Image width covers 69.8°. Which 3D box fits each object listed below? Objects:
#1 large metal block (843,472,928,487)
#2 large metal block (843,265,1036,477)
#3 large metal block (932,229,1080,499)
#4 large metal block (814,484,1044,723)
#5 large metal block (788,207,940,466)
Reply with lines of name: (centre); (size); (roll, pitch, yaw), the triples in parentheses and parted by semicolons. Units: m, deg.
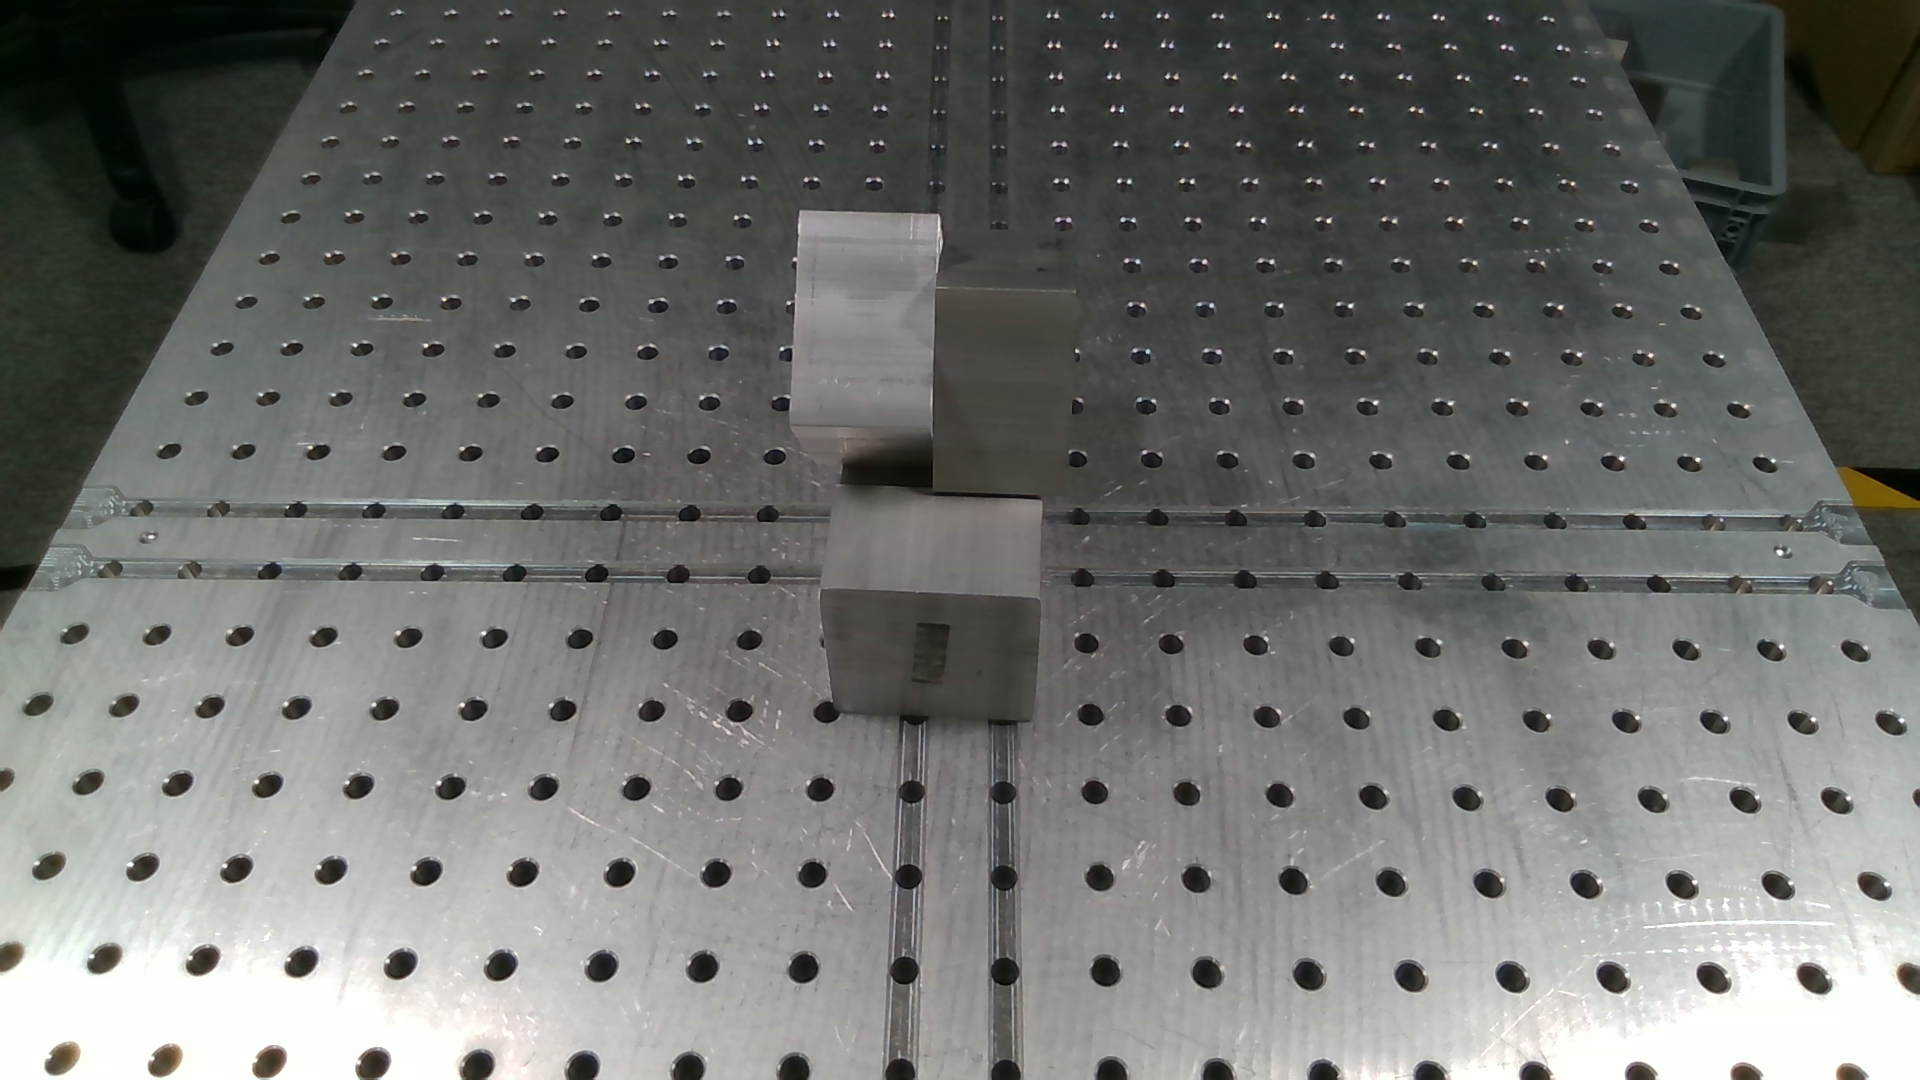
large metal block: (-0.007, -0.015, 0.584); (0.080, 0.050, 0.080); (2, 50, 2)
large metal block: (-0.008, -0.075, 0.617); (0.080, 0.080, 0.050); (1, 50, 1)
large metal block: (0.017, -0.070, 0.529); (0.050, 0.080, 0.080); (2, 28, 1)
large metal block: (-0.010, 0.026, 0.532); (0.080, 0.080, 0.050); (3, 50, 2)
large metal block: (-0.033, -0.074, 0.529); (0.050, 0.080, 0.080); (2, 83, 1)
